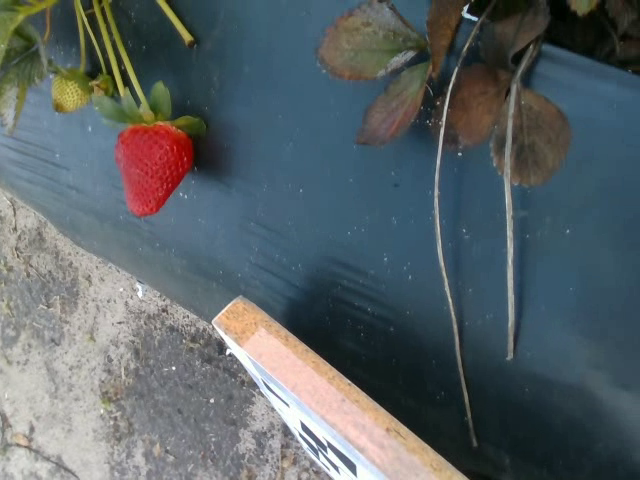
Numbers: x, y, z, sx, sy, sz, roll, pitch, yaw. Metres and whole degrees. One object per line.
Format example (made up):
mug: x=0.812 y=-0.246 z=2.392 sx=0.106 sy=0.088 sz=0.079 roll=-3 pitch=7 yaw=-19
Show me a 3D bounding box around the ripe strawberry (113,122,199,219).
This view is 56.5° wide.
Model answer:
ripe strawberry: x=-0.086 y=-0.035 z=0.296 sx=0.042 sy=0.055 sz=0.045 roll=21 pitch=-9 yaw=-17
